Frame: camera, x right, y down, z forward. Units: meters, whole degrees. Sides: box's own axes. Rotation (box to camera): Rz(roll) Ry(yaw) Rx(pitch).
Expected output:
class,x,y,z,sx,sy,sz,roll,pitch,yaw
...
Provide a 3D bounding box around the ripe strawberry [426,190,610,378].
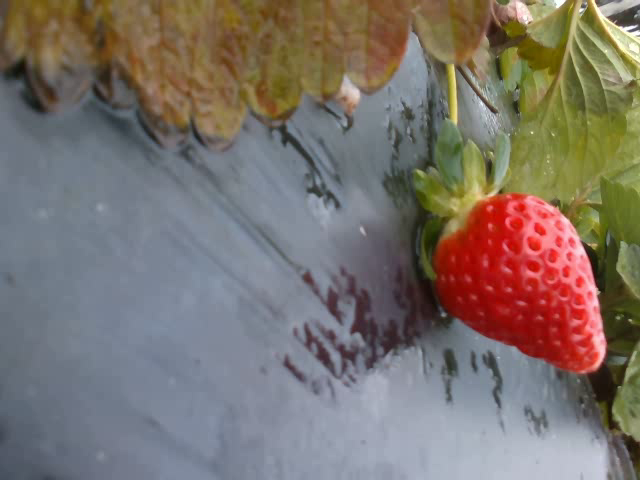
class,x,y,z,sx,sy,sz,roll,pitch,yaw
ripe strawberry,0.053,0.012,0.161,0.045,0.054,0.048,3,-37,-40
